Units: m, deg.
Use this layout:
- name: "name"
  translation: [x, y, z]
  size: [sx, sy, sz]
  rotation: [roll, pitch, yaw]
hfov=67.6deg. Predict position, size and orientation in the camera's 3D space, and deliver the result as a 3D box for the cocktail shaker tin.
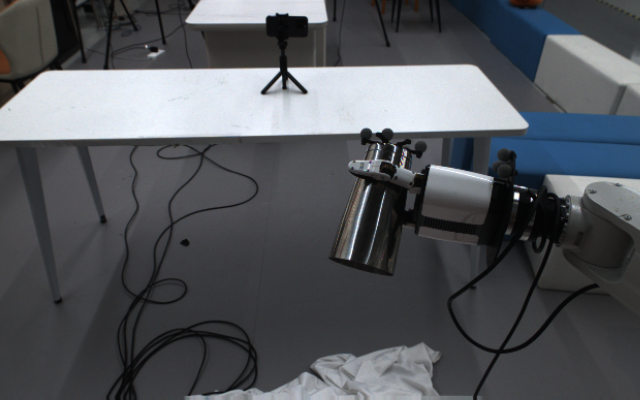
- name: "cocktail shaker tin"
  translation: [0.080, 0.008, 0.673]
  size: [0.093, 0.093, 0.170]
  rotation: [13, 77, 15]
